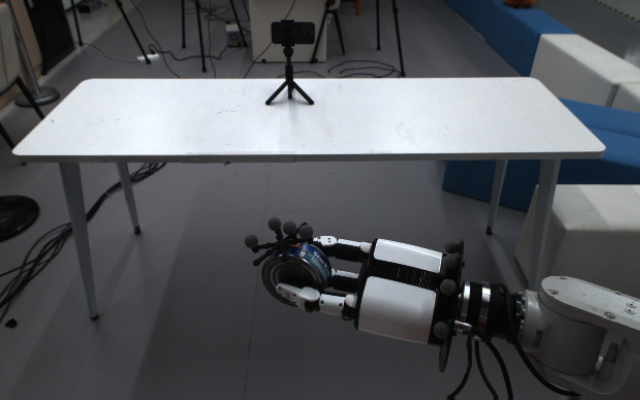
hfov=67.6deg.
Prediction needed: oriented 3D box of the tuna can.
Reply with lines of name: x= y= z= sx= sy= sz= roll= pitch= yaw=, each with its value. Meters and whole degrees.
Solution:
tuna can: x=-0.026 y=0.100 z=0.613 sx=0.085 sy=0.085 sz=0.034 roll=11 pitch=34 yaw=13
